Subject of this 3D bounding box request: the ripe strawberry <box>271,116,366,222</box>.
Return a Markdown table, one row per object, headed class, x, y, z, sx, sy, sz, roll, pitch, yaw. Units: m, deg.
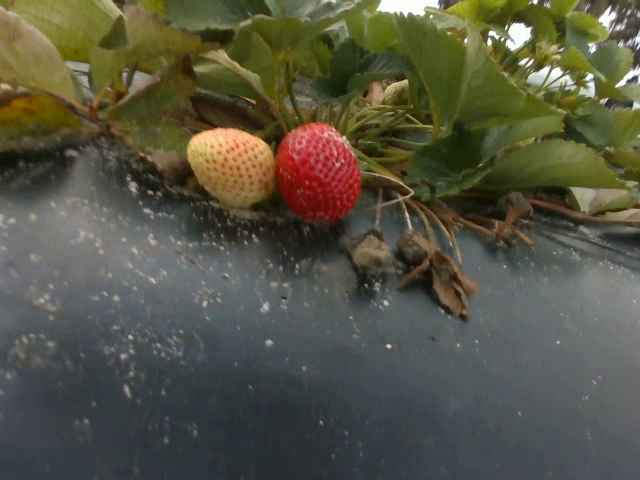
| class | x | y | z | sx | sy | sz | roll | pitch | yaw |
| --- | --- | --- | --- | --- | --- | --- | --- | --- | --- |
| ripe strawberry | -0.001 | -0.024 | 0.202 | 0.034 | 0.033 | 0.041 | 43 | 3 | 13 |
